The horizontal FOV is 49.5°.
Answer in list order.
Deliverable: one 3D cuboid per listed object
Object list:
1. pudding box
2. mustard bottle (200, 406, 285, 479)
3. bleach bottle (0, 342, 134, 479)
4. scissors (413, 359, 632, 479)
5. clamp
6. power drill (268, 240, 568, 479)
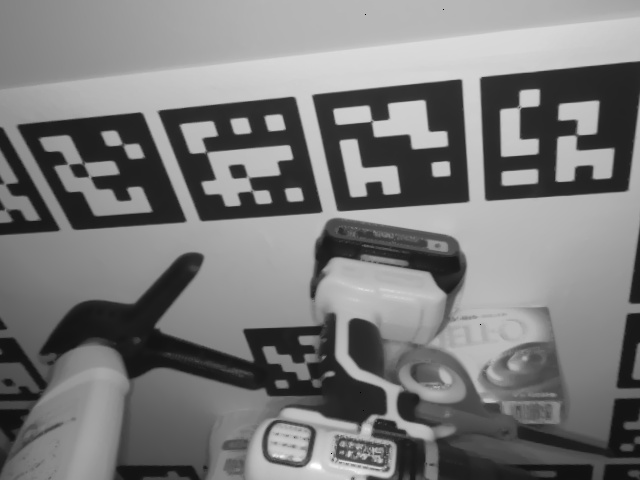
[{"bbox_3d":[0.146,0.105,0.578,0.113,0.091,0.038,1,134,8],"label":"pudding box"},{"bbox_3d":[-0.078,0.251,0.660,0.096,0.193,0.058,10,128,2],"label":"mustard bottle"},{"bbox_3d":[-0.210,0.174,0.558,0.102,0.252,0.068,-22,125,15],"label":"bleach bottle"},{"bbox_3d":[0.148,0.150,0.530,0.203,0.016,0.086,20,123,-2],"label":"scissors"},{"bbox_3d":[-0.165,0.096,0.627,0.201,0.037,0.164,-7,124,15],"label":"clamp"},{"bbox_3d":[0.066,0.088,0.477,0.185,0.189,0.057,7,135,-1],"label":"power drill"}]
